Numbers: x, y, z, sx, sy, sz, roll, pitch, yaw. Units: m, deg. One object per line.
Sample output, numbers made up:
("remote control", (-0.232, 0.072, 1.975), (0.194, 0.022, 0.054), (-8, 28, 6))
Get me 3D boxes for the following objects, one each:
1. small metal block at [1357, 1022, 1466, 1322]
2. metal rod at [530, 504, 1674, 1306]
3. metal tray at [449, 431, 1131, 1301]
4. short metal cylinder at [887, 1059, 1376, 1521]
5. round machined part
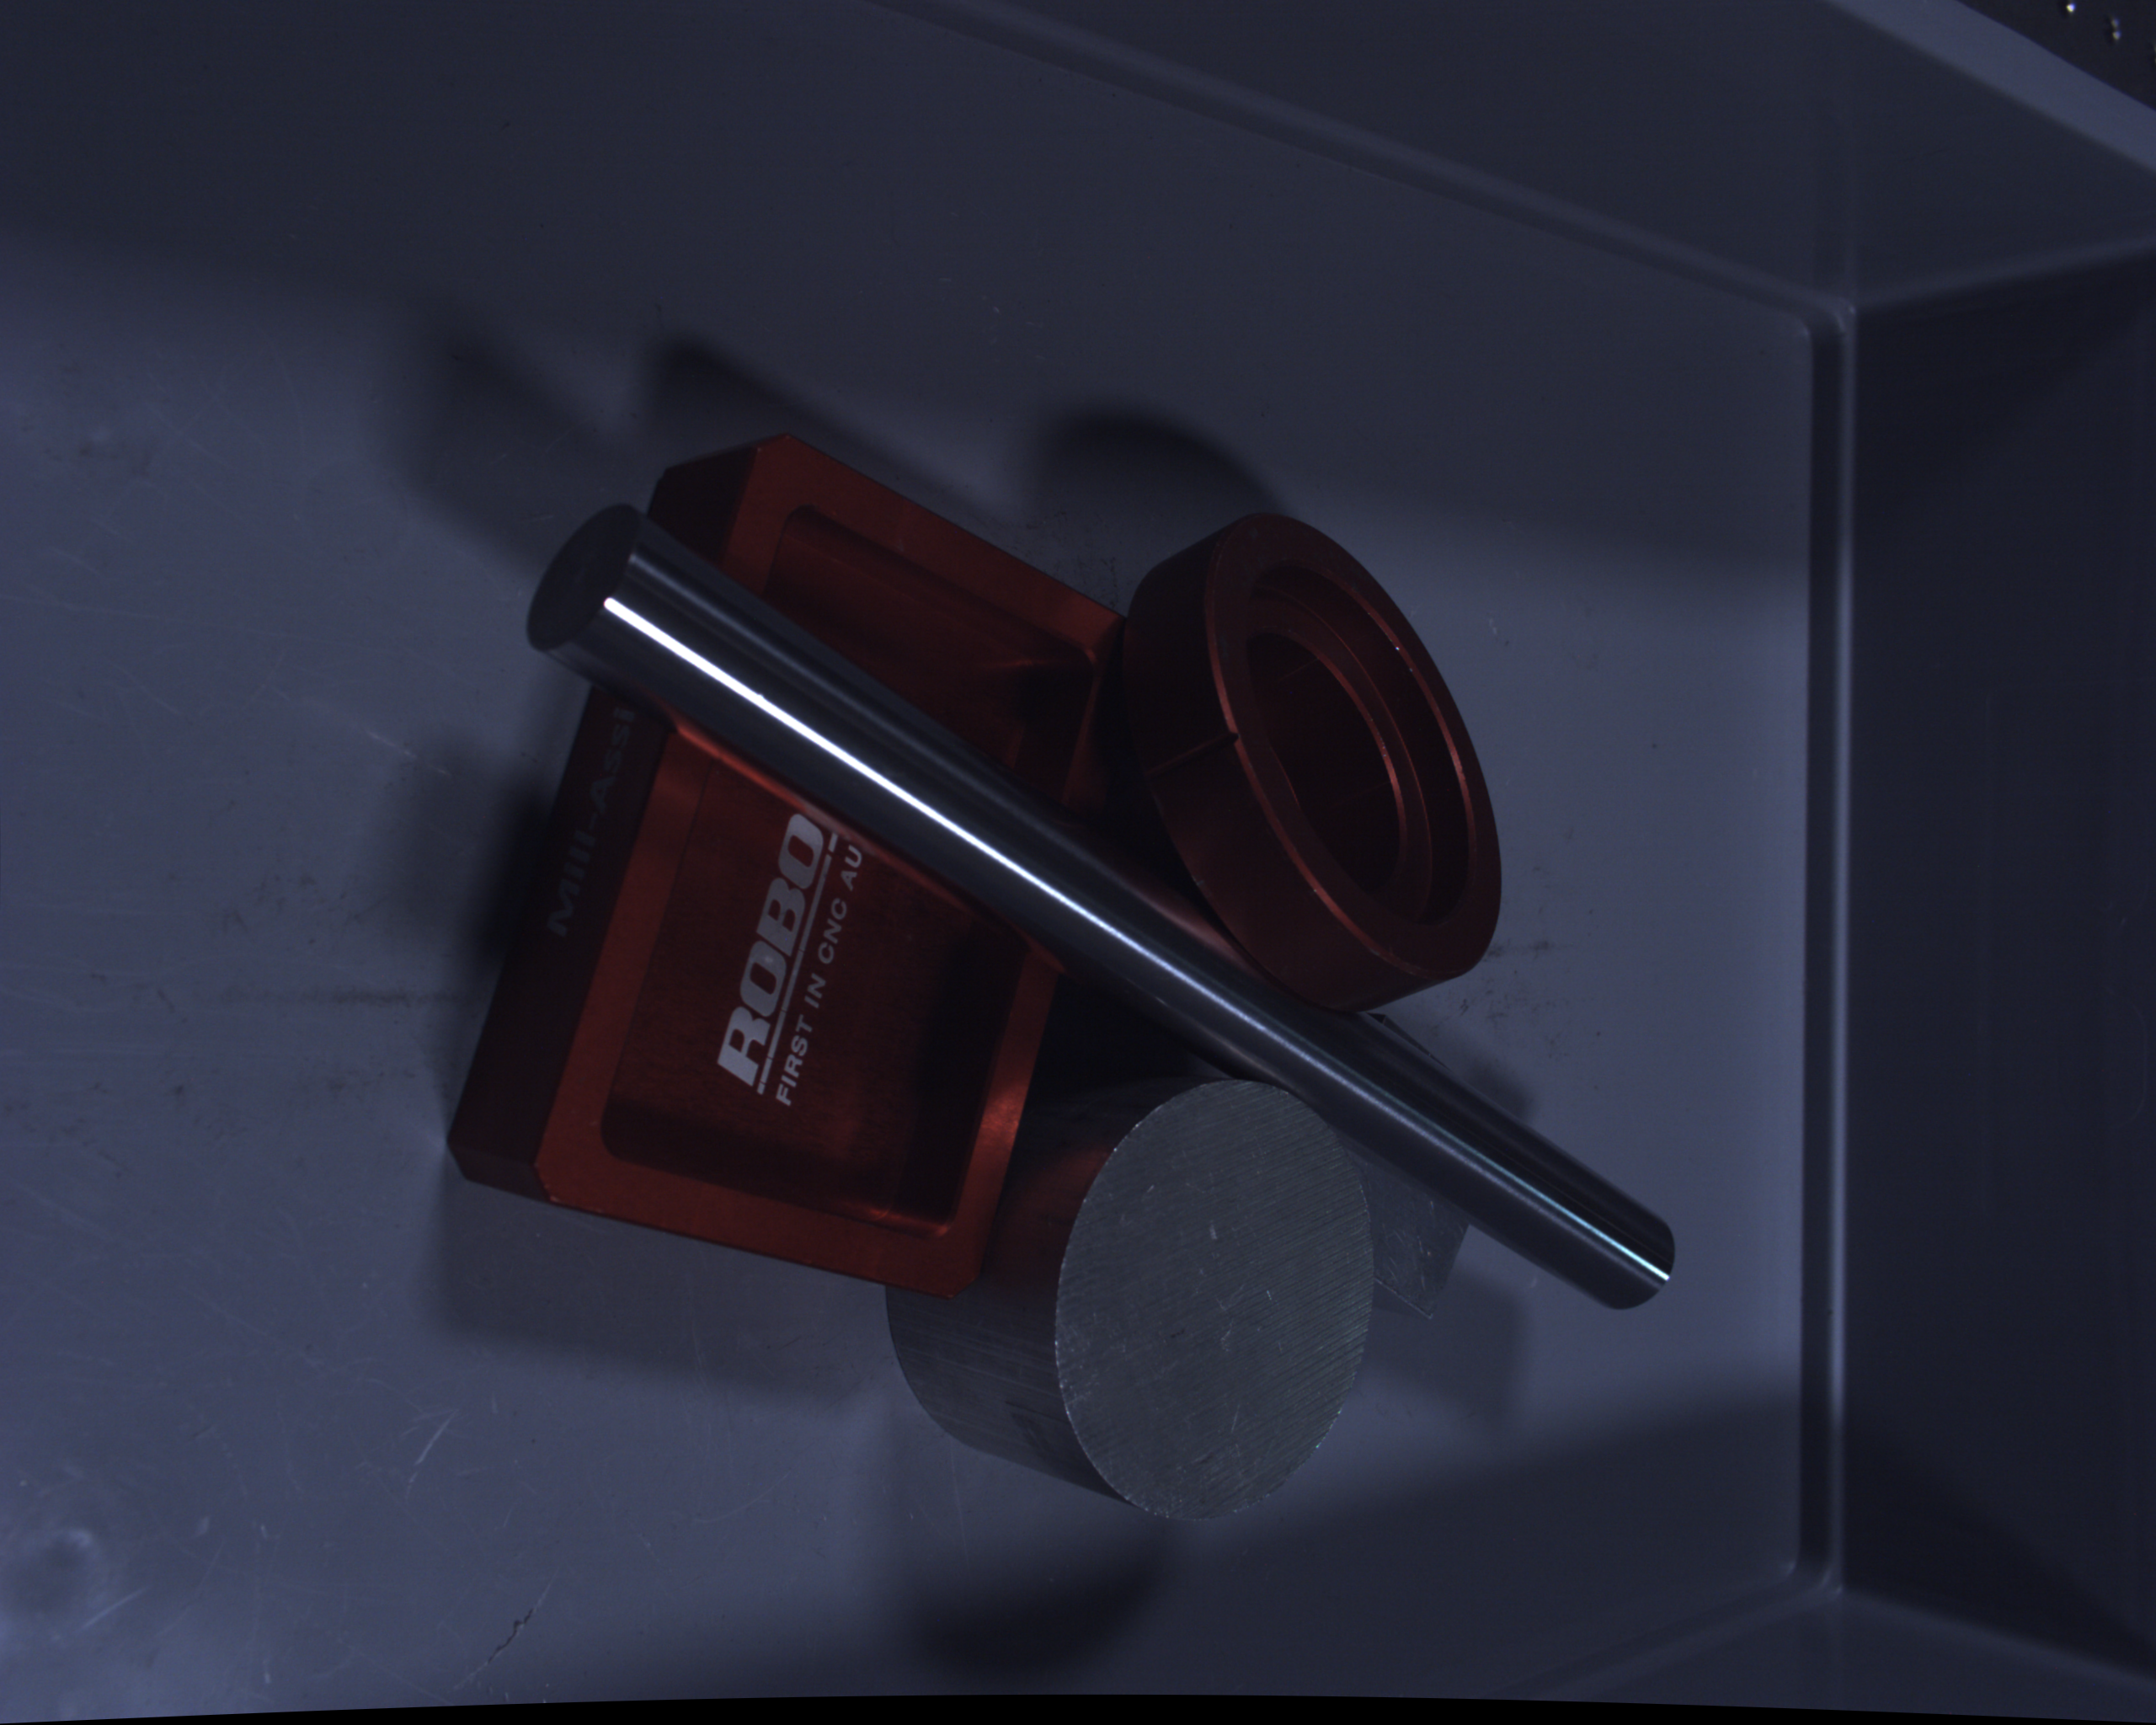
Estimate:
("small metal block", (0.064, 0.066, 0.460), (0.050, 0.025, 0.050), (39, 66, -34))
("metal rod", (0.028, 0.025, 0.393), (0.301, 0.025, 0.025), (34, 69, -38))
("metal tray", (-0.044, 0.003, 0.364), (0.090, 0.030, 0.130), (24, 75, -38))
("short metal cylinder", (0.011, 0.079, 0.399), (0.081, 0.050, 0.079), (0, 90, -40))
("round machined part", (0.040, -0.016, 0.413), (0.098, 0.042, 0.098), (32, 45, -39))
